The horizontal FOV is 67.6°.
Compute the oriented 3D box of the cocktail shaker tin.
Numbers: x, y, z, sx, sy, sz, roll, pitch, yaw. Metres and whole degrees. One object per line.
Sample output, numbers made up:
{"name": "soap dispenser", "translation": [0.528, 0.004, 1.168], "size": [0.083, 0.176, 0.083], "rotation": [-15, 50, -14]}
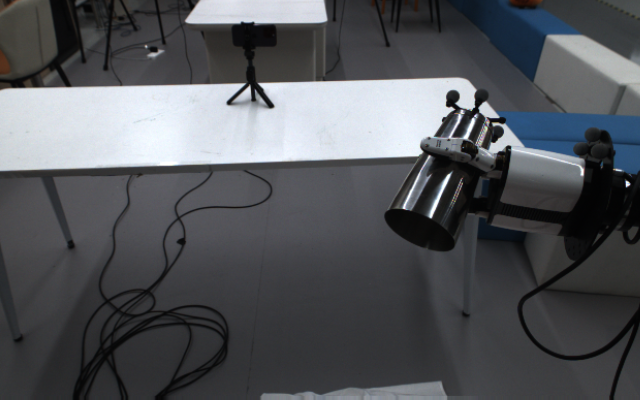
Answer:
{"name": "cocktail shaker tin", "translation": [0.162, -0.034, 0.612], "size": [0.093, 0.093, 0.170], "rotation": [20, 67, 23]}
